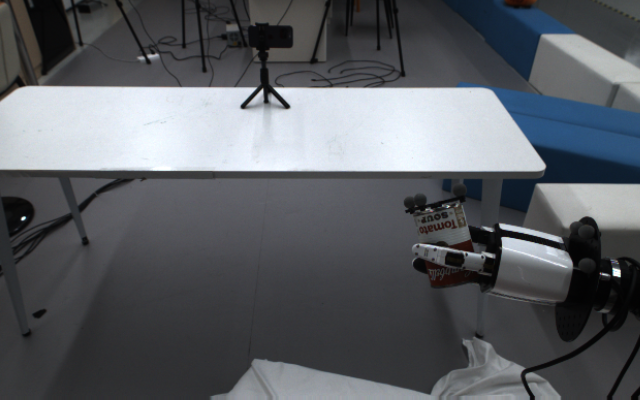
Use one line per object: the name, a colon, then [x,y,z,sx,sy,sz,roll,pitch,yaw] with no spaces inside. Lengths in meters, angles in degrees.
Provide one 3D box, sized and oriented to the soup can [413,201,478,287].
soup can: [0.169,0.058,0.645,0.067,0.101,0.067,-14,-2,-1]
